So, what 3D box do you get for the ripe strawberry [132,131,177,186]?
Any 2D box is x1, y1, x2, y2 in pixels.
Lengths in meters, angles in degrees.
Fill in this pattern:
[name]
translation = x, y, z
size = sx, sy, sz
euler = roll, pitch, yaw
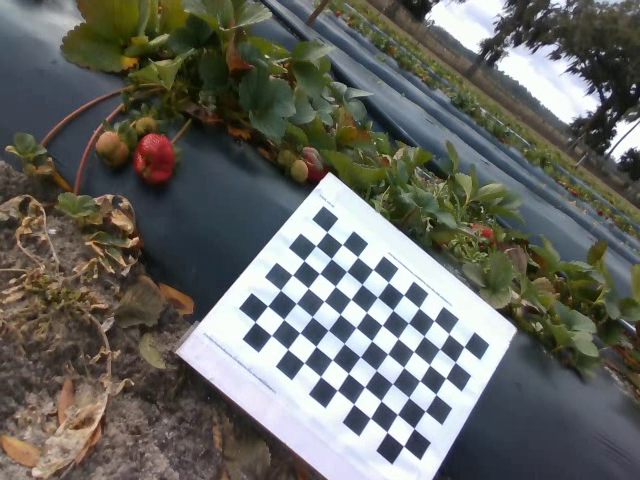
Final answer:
[ripe strawberry]
translation = -0.197, -0.106, 0.722
size = 0.066, 0.075, 0.053
euler = 23, -23, -10
